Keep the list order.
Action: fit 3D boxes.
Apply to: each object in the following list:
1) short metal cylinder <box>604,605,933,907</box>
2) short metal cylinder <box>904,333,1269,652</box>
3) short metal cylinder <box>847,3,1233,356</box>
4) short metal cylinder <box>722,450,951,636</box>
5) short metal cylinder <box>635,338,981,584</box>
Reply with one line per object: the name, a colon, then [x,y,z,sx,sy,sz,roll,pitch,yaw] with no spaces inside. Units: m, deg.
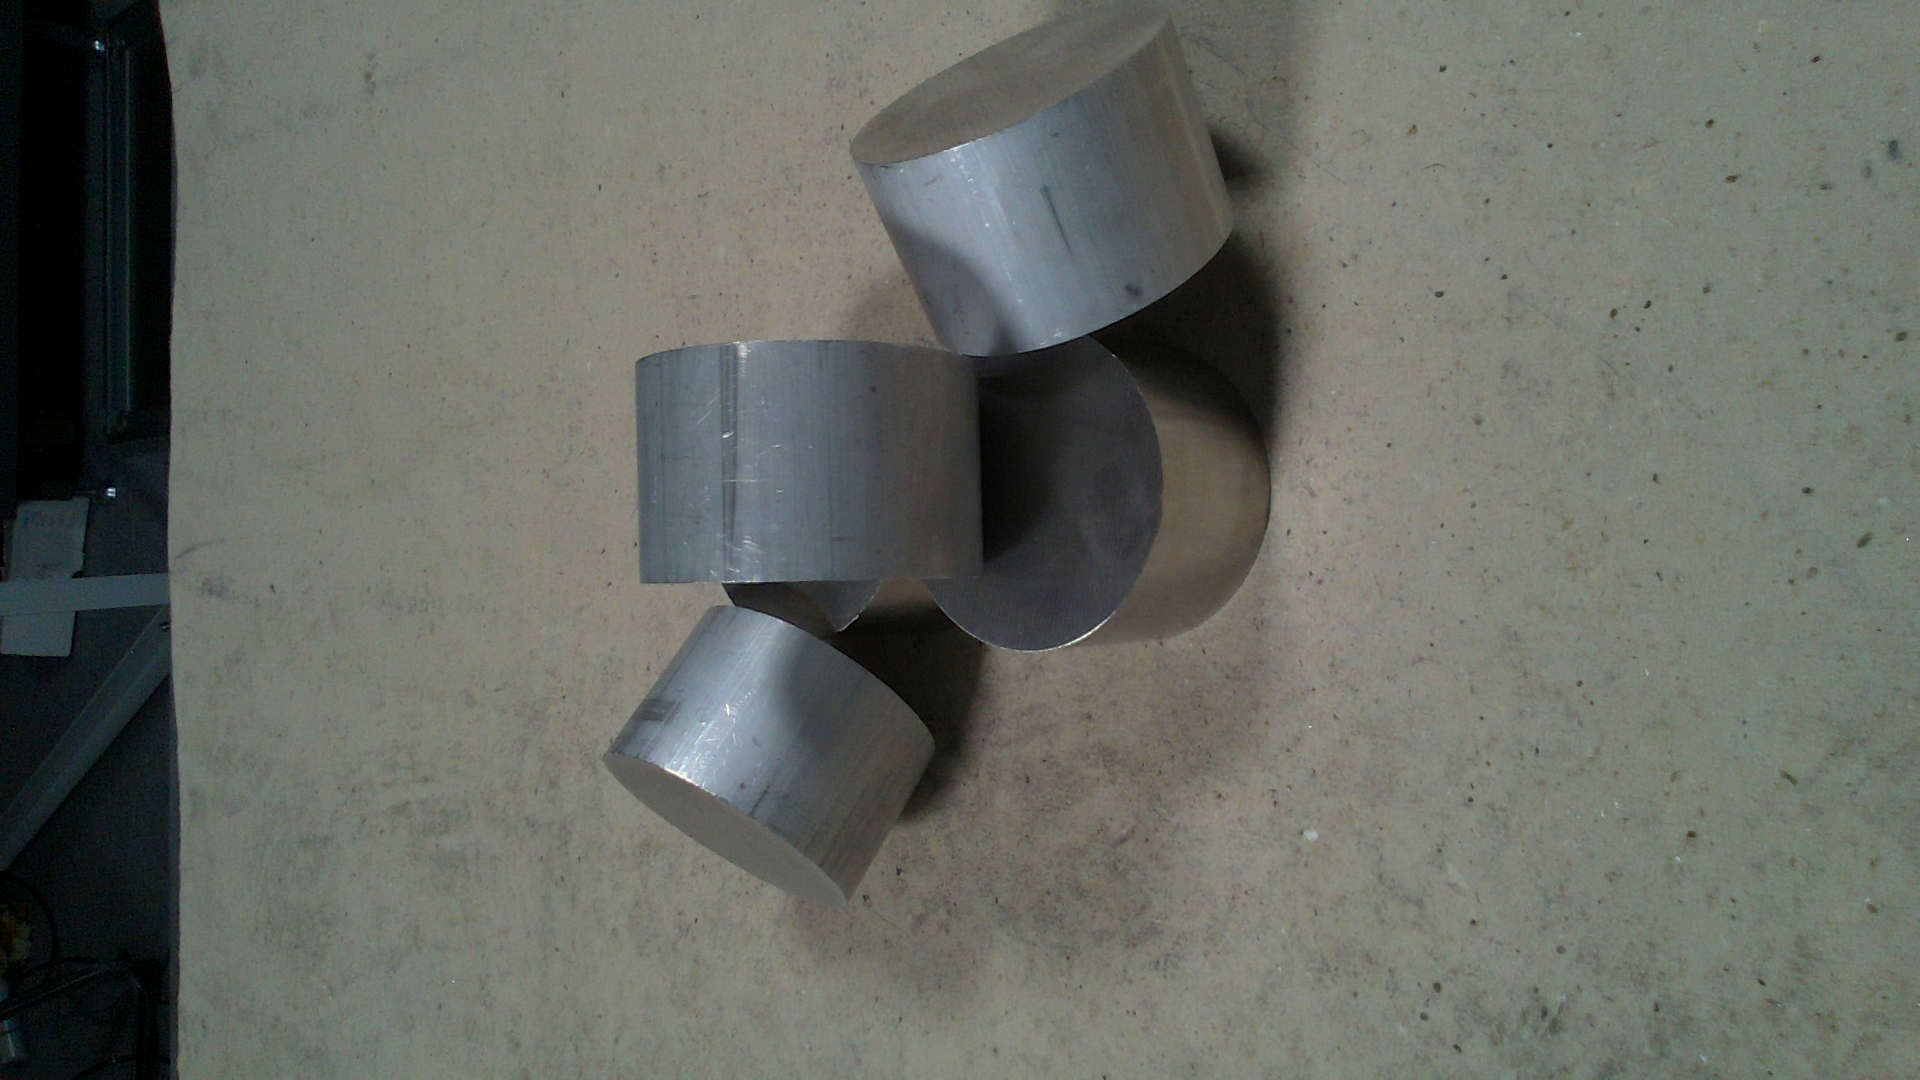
short metal cylinder: [-0.055,0.063,0.396,0.080,0.080,0.050,9,57,40]
short metal cylinder: [0.031,-0.013,0.352,0.080,0.050,0.080,0,90,40]
short metal cylinder: [0.020,-0.087,0.333,0.080,0.080,0.050,1,129,40]
short metal cylinder: [-0.030,-0.012,0.403,0.080,0.050,0.080,0,90,40]
short metal cylinder: [-0.035,-0.016,0.323,0.080,0.080,0.050,-2,89,40]
